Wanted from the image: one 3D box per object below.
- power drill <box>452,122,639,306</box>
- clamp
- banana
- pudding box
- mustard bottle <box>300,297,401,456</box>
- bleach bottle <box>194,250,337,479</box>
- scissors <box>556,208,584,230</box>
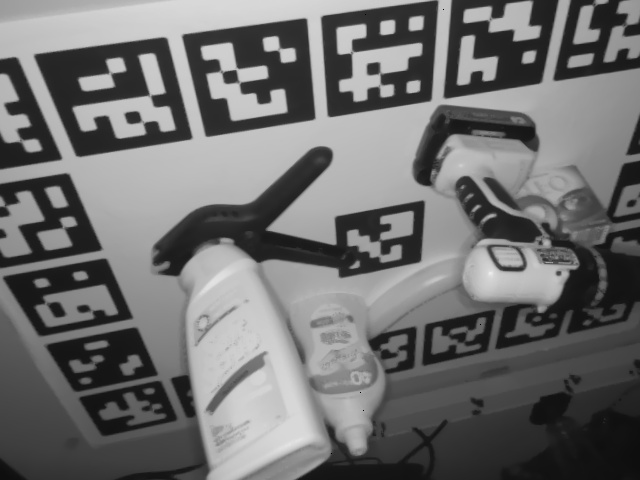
[{"bbox_3d":[0.207,-0.025,0.613,0.186,0.187,0.056,-2,138,-17],"label":"power drill"},{"bbox_3d":[-0.056,0.009,0.693,0.203,0.037,0.164,-14,131,-1],"label":"clamp"},{"bbox_3d":[0.134,0.097,0.833,0.195,0.039,0.075,-41,145,20],"label":"banana"},{"bbox_3d":[0.258,-0.024,0.733,0.114,0.090,0.038,-7,139,-8],"label":"pudding box"},{"bbox_3d":[0.038,0.149,0.763,0.097,0.192,0.057,2,131,-14],"label":"mustard bottle"},{"bbox_3d":[-0.070,0.096,0.623,0.102,0.251,0.068,-28,136,2],"label":"bleach bottle"},{"bbox_3d":[0.278,0.022,0.691,0.205,0.016,0.086,12,122,-18],"label":"scissors"}]
